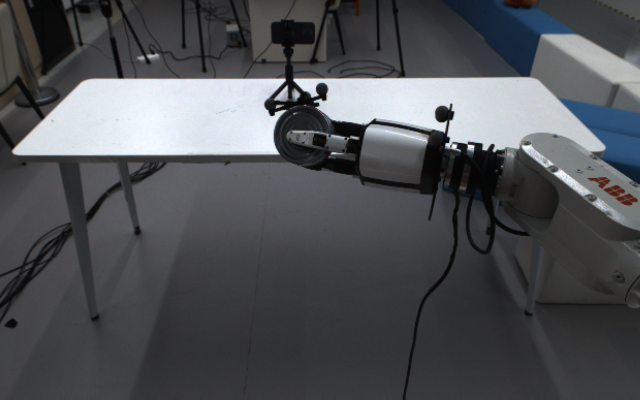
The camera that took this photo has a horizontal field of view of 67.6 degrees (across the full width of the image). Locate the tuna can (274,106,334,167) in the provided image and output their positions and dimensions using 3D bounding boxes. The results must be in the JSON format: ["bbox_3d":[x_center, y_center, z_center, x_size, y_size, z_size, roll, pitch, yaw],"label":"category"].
[{"bbox_3d":[-0.019,-0.087,0.688,0.085,0.085,0.034,12,3,14],"label":"tuna can"}]
